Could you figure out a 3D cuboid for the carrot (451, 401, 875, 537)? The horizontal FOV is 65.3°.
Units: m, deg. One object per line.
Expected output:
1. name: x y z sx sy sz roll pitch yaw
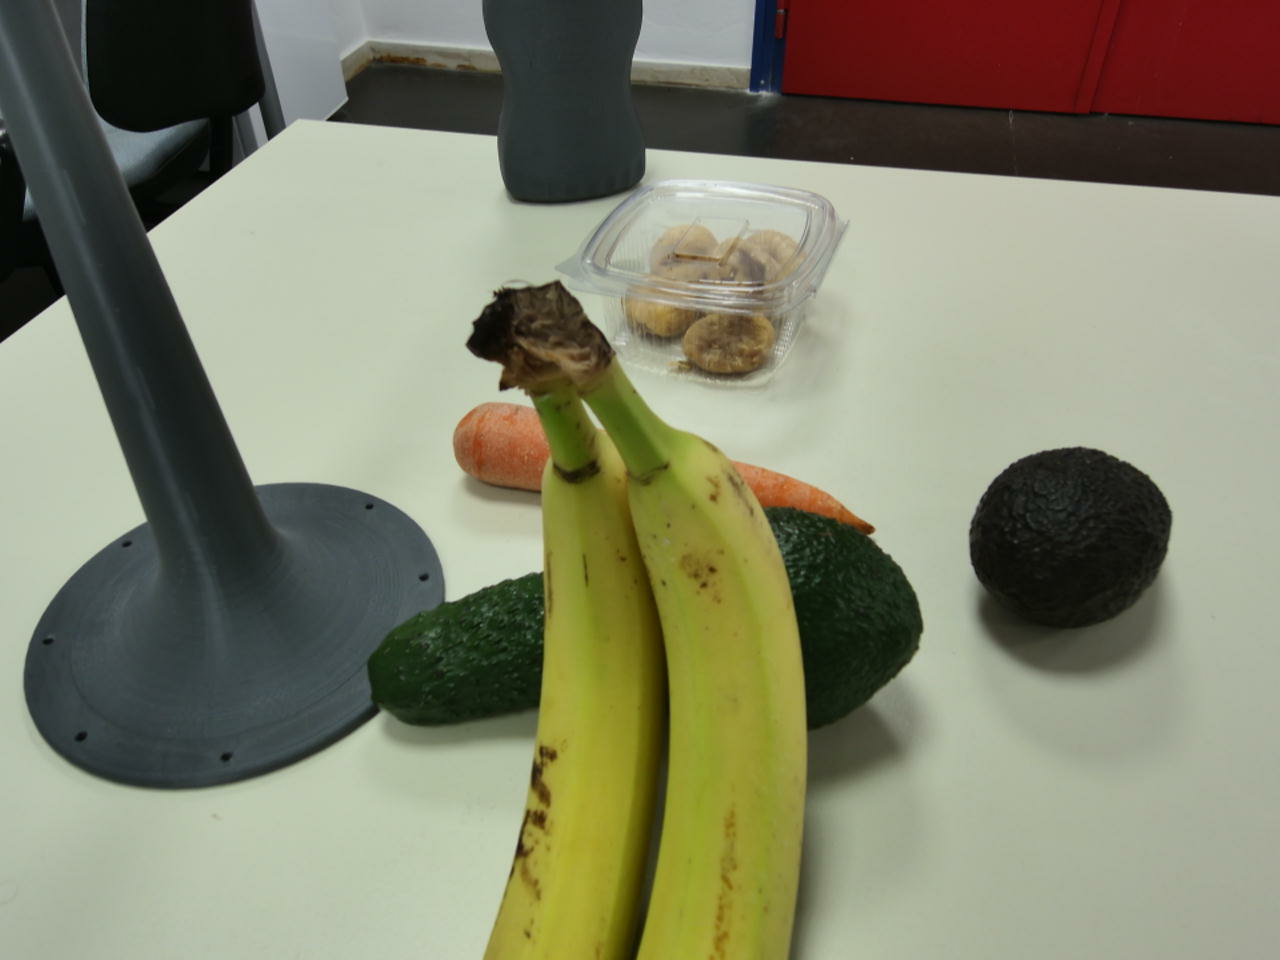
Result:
1. carrot: 0.009 -0.005 0.450 0.196 0.041 0.039 9 39 11
